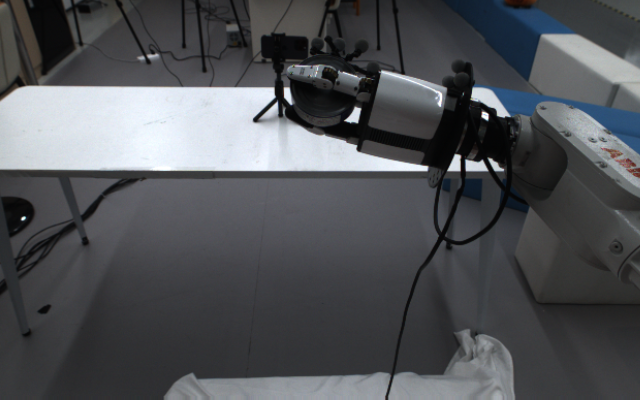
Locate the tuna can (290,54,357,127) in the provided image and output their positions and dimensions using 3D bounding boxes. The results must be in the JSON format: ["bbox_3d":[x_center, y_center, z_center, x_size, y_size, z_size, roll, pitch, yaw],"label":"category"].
[{"bbox_3d":[0.006,-0.138,0.609,0.085,0.034,0.085,0,72,0],"label":"tuna can"}]
